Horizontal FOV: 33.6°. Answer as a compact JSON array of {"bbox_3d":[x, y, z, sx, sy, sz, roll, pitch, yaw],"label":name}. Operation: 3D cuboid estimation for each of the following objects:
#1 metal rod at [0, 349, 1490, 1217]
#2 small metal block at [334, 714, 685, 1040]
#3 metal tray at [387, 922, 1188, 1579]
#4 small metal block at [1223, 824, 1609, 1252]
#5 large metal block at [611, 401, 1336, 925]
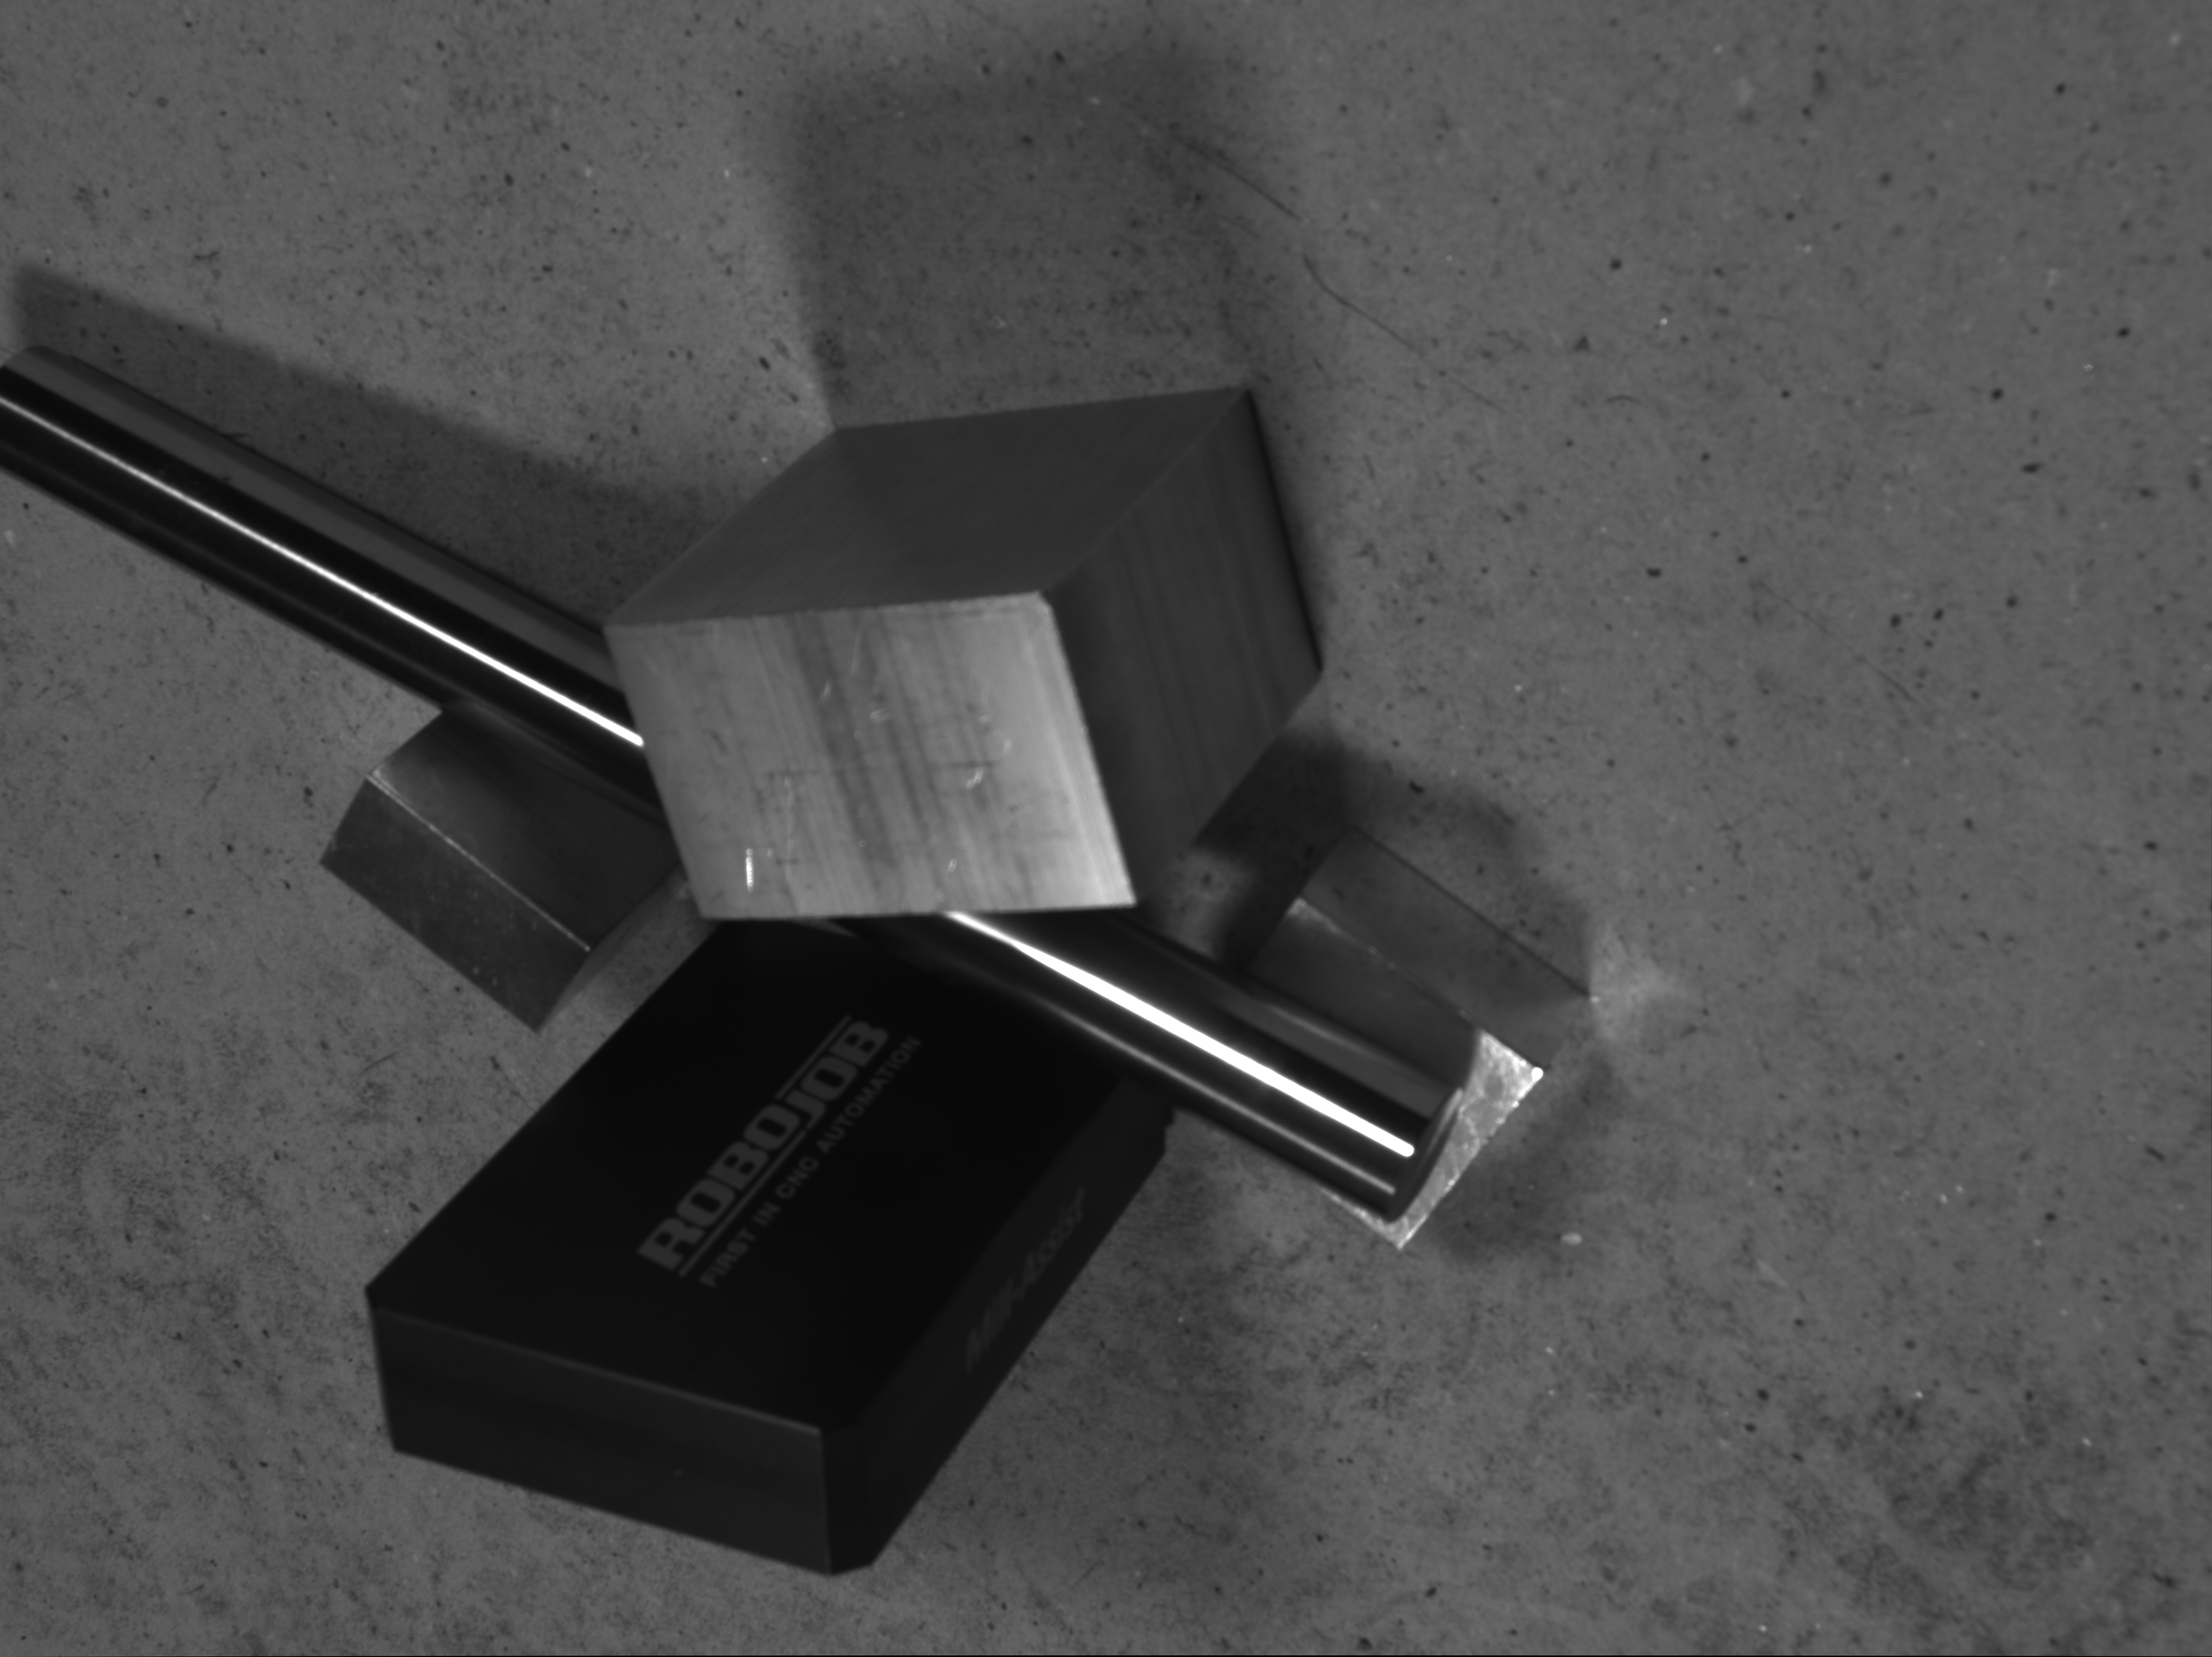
[{"bbox_3d":[-0.071,-0.013,0.642,0.300,0.025,0.025,27,127,16],"label":"metal rod"},{"bbox_3d":[-0.103,0.003,0.668,0.050,0.050,0.025,38,128,1],"label":"small metal block"},{"bbox_3d":[-0.051,0.067,0.630,0.090,0.130,0.030,12,123,21],"label":"metal tray"},{"bbox_3d":[0.050,0.036,0.629,0.050,0.025,0.050,36,128,3],"label":"small metal block"},{"bbox_3d":[-0.019,-0.027,0.588,0.080,0.080,0.050,-2,117,28],"label":"large metal block"}]
